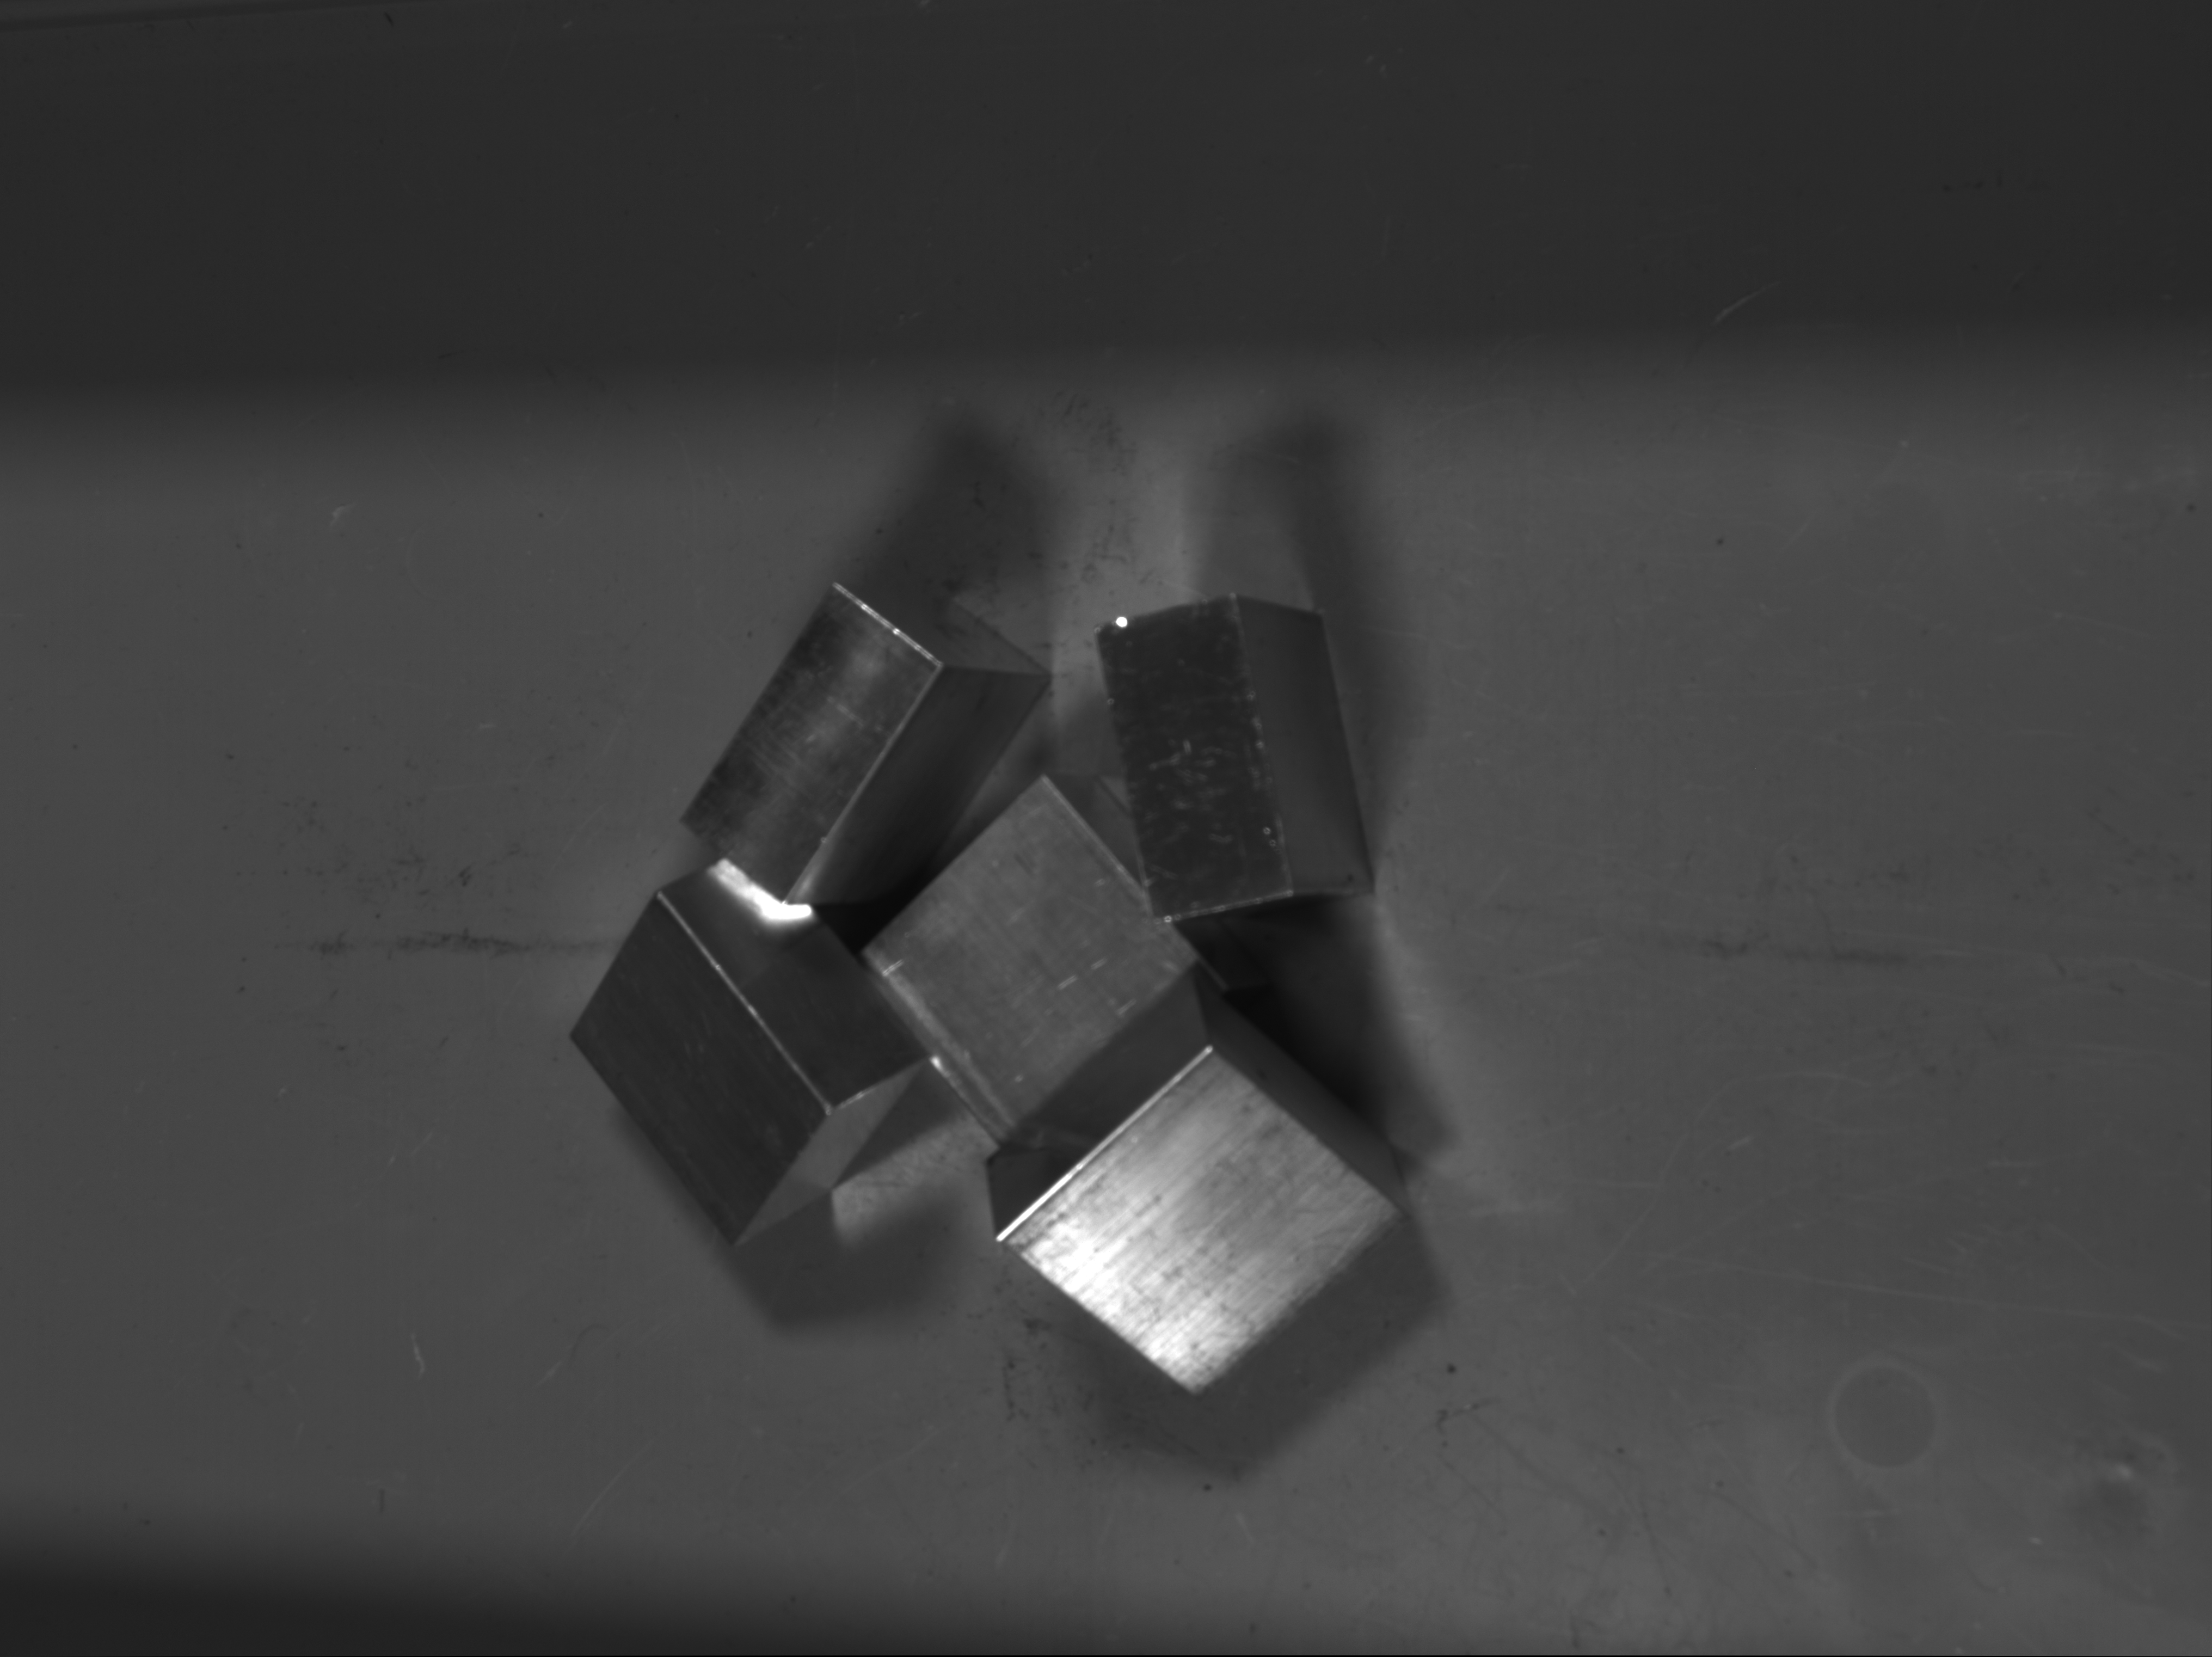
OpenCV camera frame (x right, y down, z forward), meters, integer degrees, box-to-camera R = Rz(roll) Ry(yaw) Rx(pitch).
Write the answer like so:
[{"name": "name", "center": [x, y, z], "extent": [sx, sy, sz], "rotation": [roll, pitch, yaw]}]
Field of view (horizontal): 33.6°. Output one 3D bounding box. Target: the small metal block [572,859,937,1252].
[{"name": "small metal block", "center": [-0.063, 0.039, 0.653], "extent": [0.050, 0.025, 0.050], "rotation": [51, 138, 13]}]

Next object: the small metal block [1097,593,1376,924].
[{"name": "small metal block", "center": [0.023, -0.011, 0.621], "extent": [0.025, 0.050, 0.050], "rotation": [-12, 86, 18]}]

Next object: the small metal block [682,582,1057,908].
[{"name": "small metal block", "center": [-0.041, -0.014, 0.644], "extent": [0.025, 0.050, 0.050], "rotation": [38, 102, 16]}]

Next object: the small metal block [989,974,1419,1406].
[{"name": "small metal block", "center": [0.016, 0.062, 0.623], "extent": [0.050, 0.025, 0.050], "rotation": [-43, 113, 14]}]

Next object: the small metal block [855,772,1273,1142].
[{"name": "small metal block", "center": [-0.008, 0.026, 0.645], "extent": [0.050, 0.025, 0.050], "rotation": [-44, 76, 14]}]
